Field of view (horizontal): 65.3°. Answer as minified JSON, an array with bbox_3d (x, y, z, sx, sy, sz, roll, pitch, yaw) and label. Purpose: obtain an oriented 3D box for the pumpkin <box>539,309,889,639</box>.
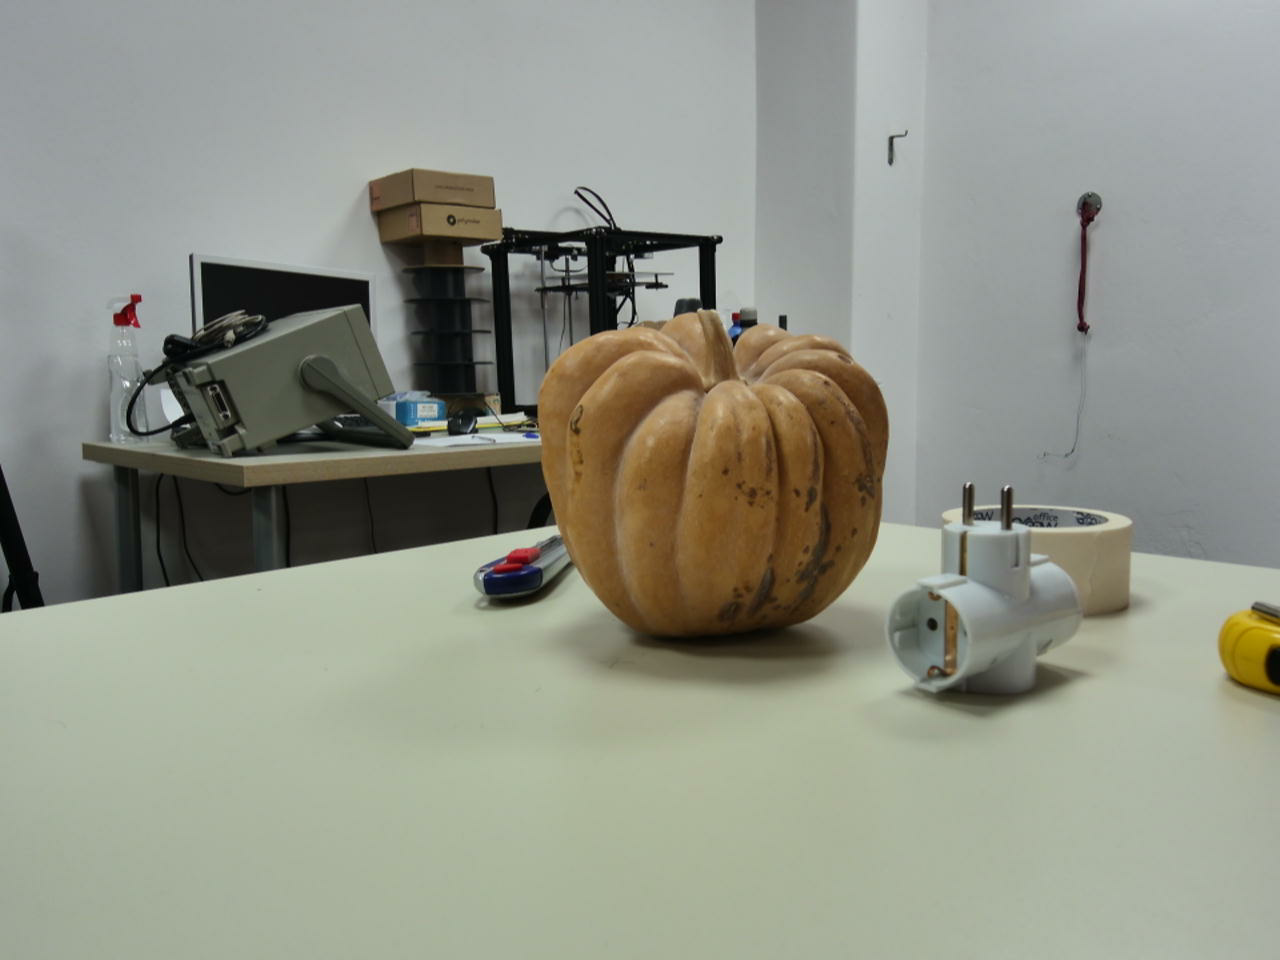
[{"bbox_3d":[0.039,-0.004,0.557,0.199,0.177,0.198,0,5,0],"label":"pumpkin"}]
